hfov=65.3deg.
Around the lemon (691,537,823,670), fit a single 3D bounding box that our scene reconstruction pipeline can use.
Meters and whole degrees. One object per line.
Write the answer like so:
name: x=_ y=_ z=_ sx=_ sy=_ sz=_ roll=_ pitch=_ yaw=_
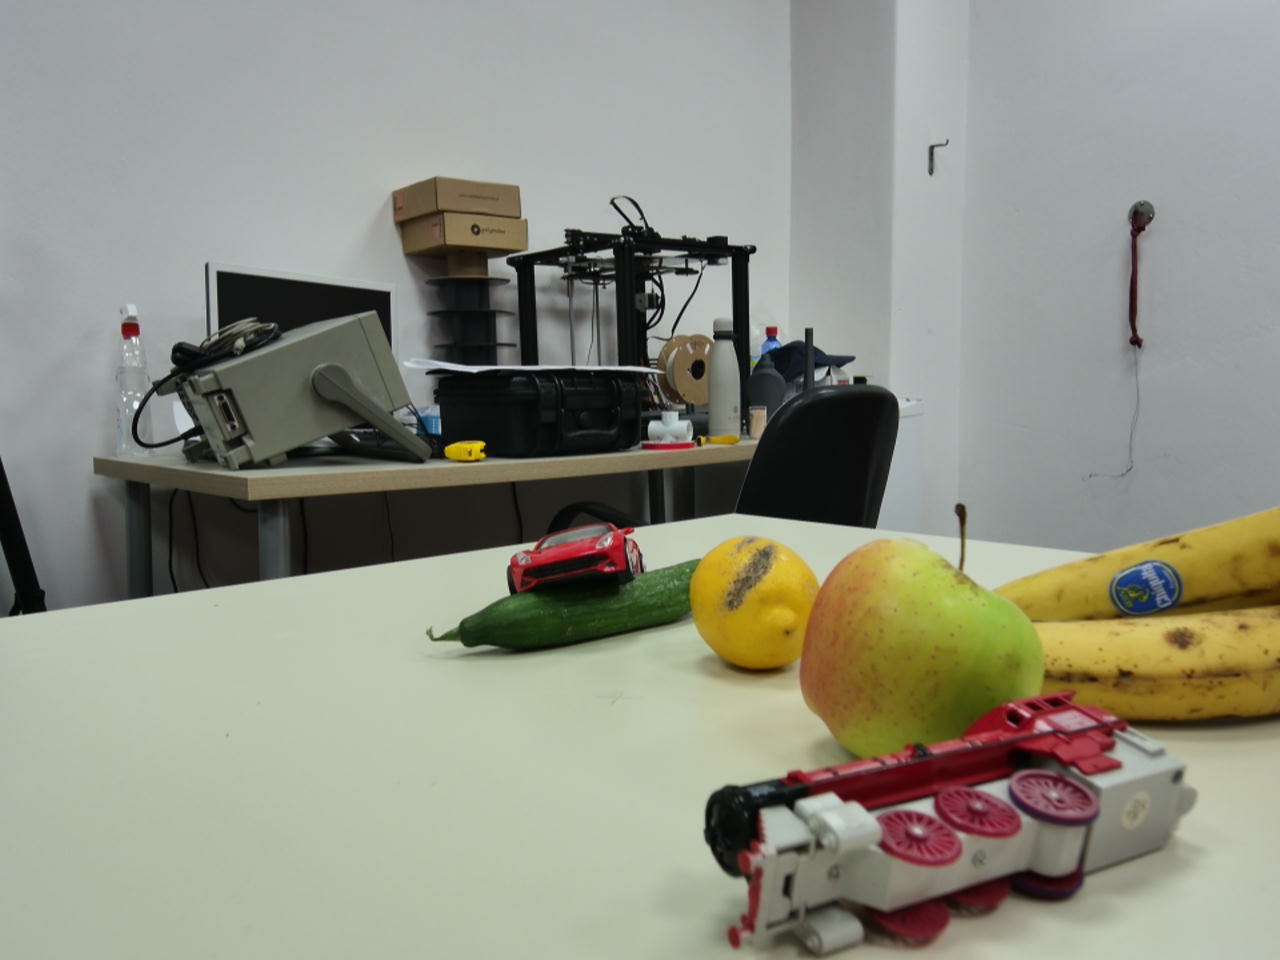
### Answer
lemon: x=0.052 y=0.055 z=0.442 sx=0.061 sy=0.056 sz=0.058 roll=3 pitch=4 yaw=42
